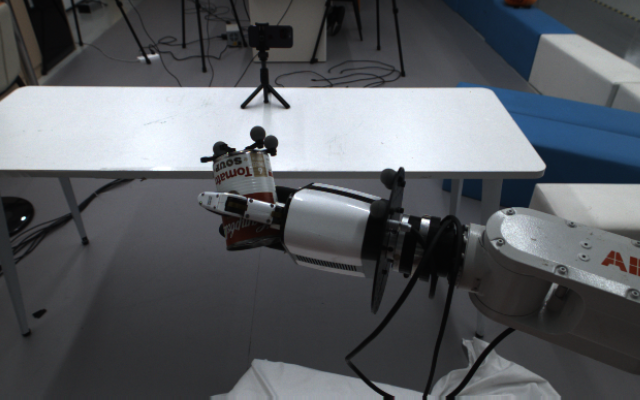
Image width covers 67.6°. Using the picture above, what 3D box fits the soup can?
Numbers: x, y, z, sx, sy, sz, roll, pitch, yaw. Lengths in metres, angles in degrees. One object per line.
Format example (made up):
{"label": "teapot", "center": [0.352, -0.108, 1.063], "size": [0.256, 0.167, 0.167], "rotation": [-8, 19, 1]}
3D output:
{"label": "soup can", "center": [-0.080, 0.002, 0.554], "size": [0.067, 0.067, 0.101], "rotation": [-10, 79, -17]}
